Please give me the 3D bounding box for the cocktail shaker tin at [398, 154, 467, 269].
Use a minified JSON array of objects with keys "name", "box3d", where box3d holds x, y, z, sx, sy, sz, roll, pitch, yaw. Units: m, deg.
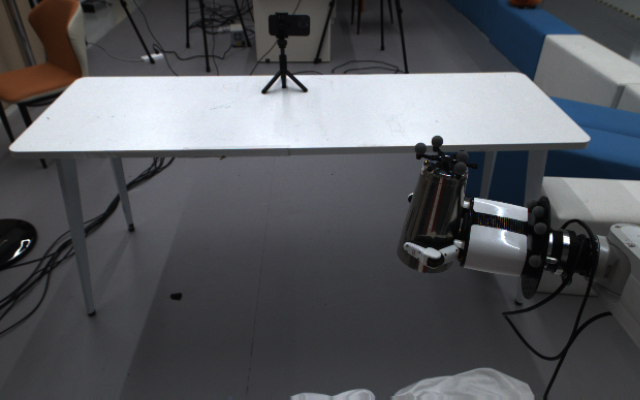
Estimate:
[{"name":"cocktail shaker tin","box3d":[0.179,0.019,0.752,0.093,0.170,0.093,3,34,-2]}]
